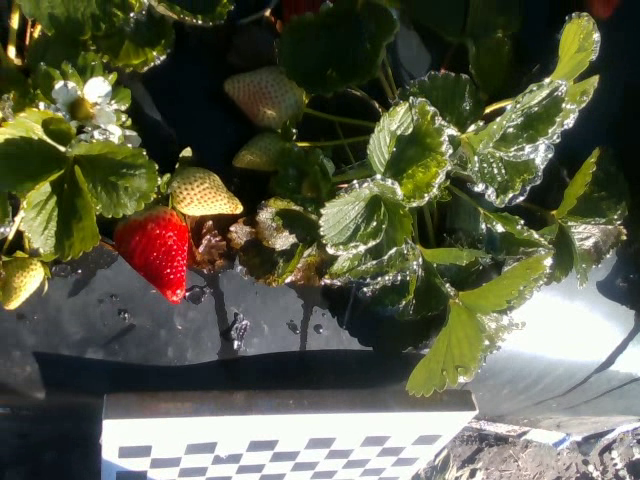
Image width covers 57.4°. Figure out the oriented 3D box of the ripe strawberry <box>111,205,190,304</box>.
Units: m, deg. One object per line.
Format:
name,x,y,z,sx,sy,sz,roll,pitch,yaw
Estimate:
ripe strawberry,-0.083,0.009,0.295,0.040,0.053,0.042,-23,-14,8
